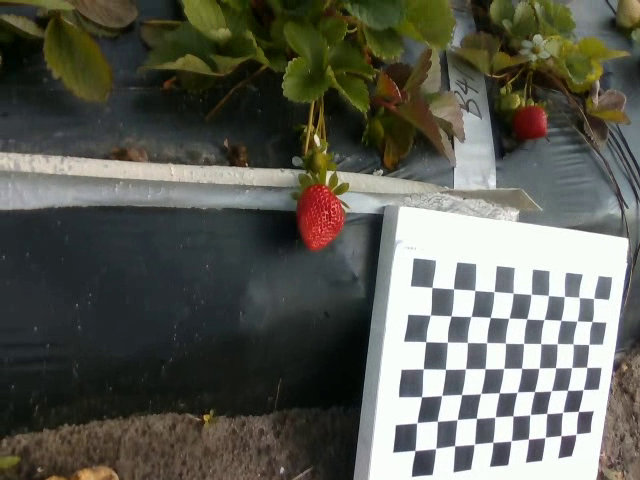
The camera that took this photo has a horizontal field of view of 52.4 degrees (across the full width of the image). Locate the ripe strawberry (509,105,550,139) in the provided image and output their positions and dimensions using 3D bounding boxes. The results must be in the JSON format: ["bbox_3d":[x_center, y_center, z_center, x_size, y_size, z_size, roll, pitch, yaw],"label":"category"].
[{"bbox_3d":[0.195,-0.106,0.590,0.037,0.031,0.048,22,30,-30],"label":"ripe strawberry"}]

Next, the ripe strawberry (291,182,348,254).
[{"bbox_3d":[0.001,-0.013,0.434,0.030,0.053,0.048,-16,-55,41],"label":"ripe strawberry"}]
